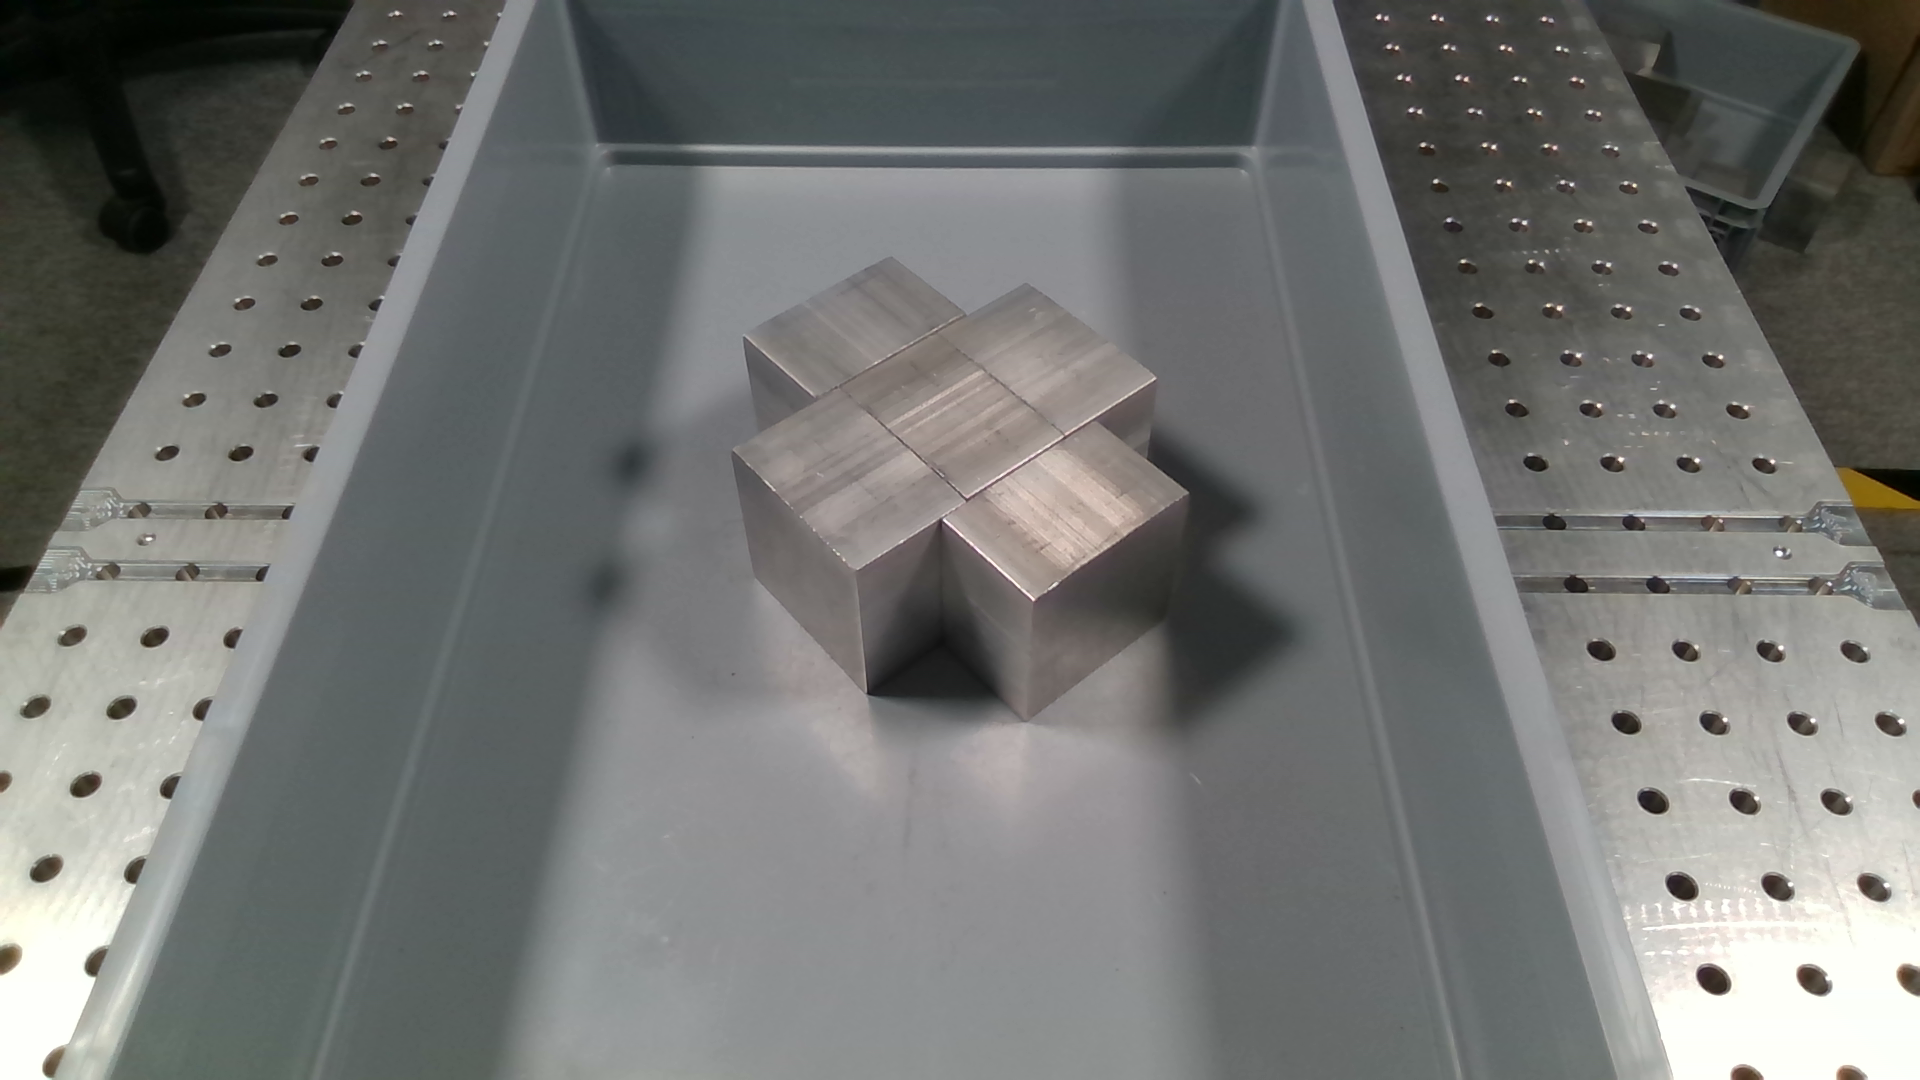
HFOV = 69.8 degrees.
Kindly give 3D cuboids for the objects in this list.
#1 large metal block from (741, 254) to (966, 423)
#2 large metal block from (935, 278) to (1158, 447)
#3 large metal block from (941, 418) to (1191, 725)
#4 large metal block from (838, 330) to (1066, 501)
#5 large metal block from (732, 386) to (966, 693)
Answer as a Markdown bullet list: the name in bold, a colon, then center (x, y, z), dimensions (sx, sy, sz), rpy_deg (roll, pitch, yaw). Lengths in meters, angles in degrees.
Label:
- **large metal block**: center (-0.044, -0.065, 0.605), dimensions (0.080, 0.080, 0.050), rpy_deg (-34, 58, -25)
- **large metal block**: center (0.035, -0.051, 0.592), dimensions (0.050, 0.080, 0.080), rpy_deg (-33, 57, -24)
- **large metal block**: center (0.040, 0.013, 0.540), dimensions (0.080, 0.080, 0.050), rpy_deg (-34, 58, -25)
- **large metal block**: center (-0.004, -0.026, 0.572), dimensions (0.050, 0.080, 0.080), rpy_deg (-33, 57, -24)
- **large metal block**: center (-0.043, 0.000, 0.551), dimensions (0.050, 0.080, 0.080), rpy_deg (-33, 57, -24)
